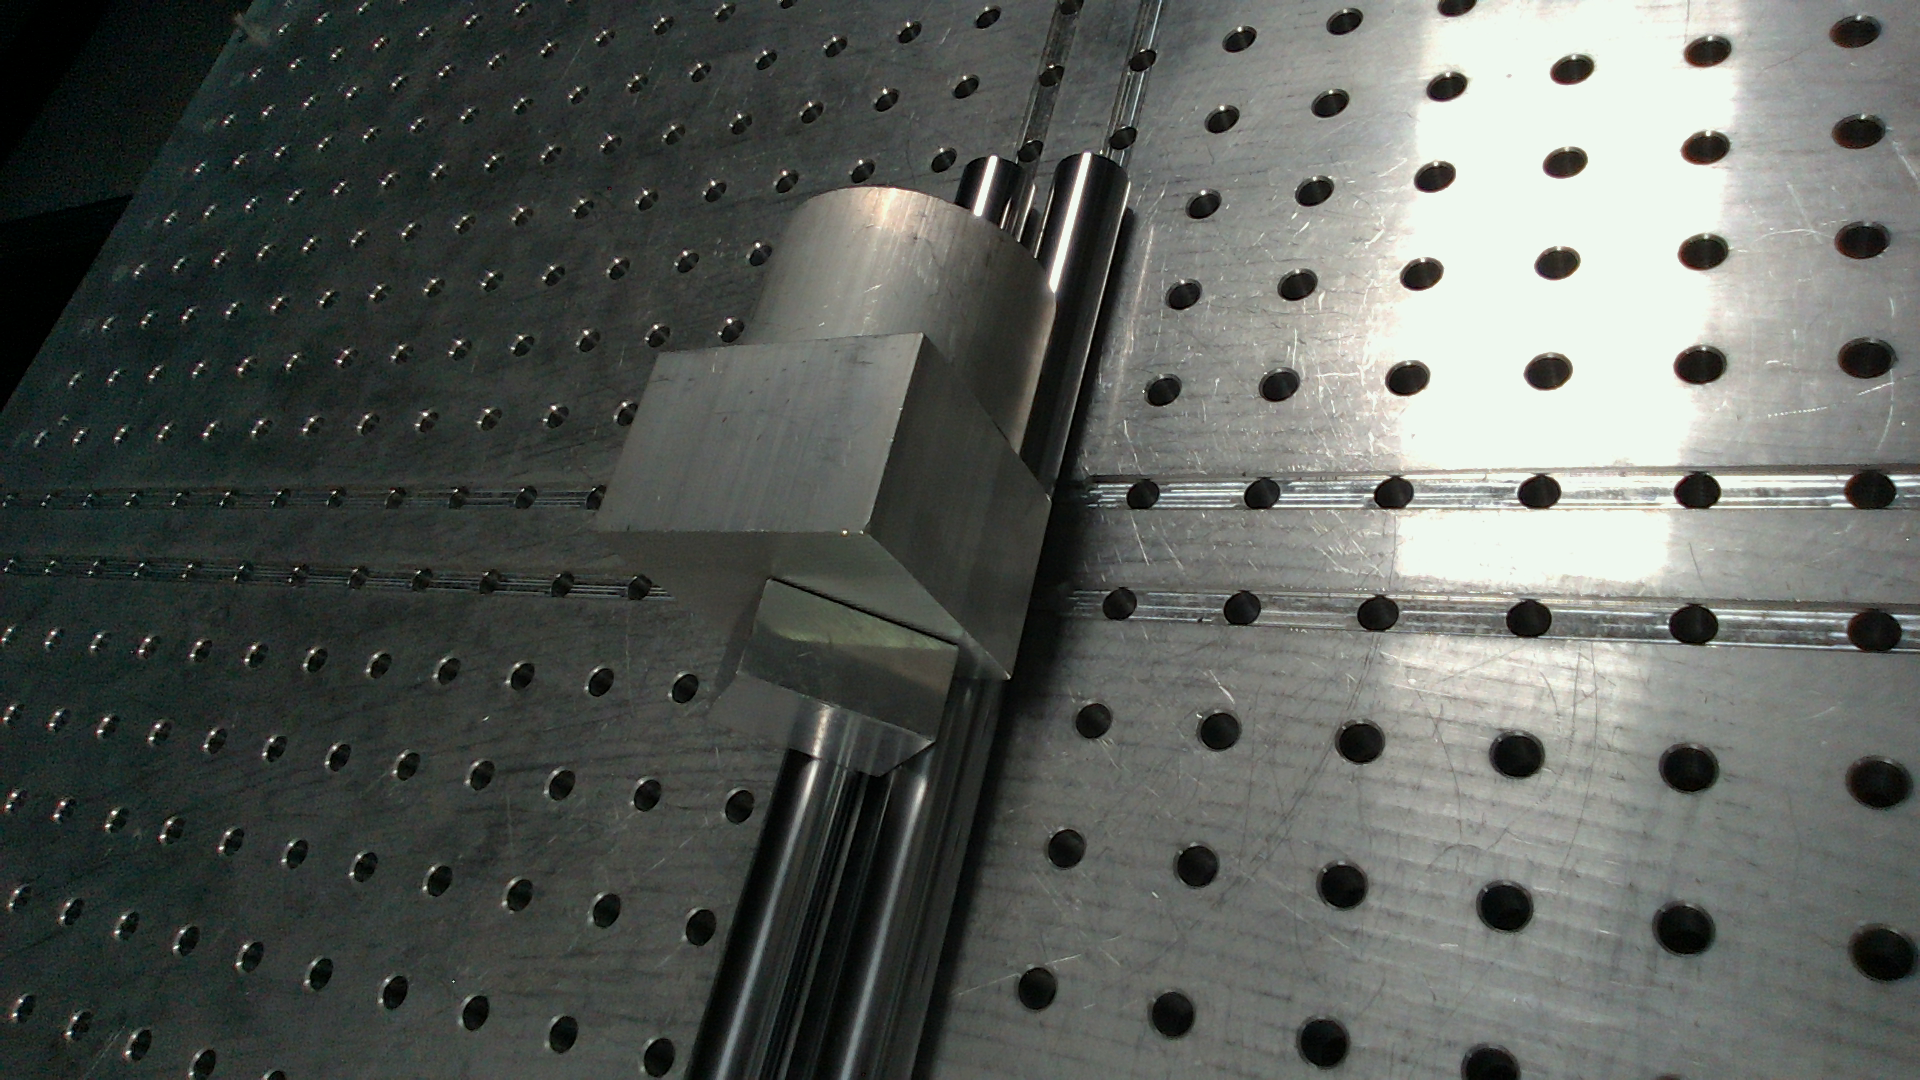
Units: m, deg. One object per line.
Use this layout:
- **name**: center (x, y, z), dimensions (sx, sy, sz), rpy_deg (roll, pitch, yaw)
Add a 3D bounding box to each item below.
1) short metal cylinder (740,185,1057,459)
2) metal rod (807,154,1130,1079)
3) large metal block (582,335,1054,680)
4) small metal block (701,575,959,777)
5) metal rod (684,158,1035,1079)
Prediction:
- **short metal cylinder**: center (-0.018, -0.050, 0.374), dimensions (0.080, 0.080, 0.050), rpy_deg (1, 62, 29)
- **metal rod**: center (0.007, 0.015, 0.385), dimensions (0.025, 0.025, 0.300), rpy_deg (1, 62, 29)
- **large metal block**: center (-0.032, -0.005, 0.350), dimensions (0.080, 0.080, 0.050), rpy_deg (0, 62, 29)
- **small metal block**: center (-0.034, 0.036, 0.347), dimensions (0.050, 0.050, 0.025), rpy_deg (20, 65, -12)
- **metal rod**: center (-0.023, 0.011, 0.404), dimensions (0.025, 0.025, 0.300), rpy_deg (1, 62, 29)
